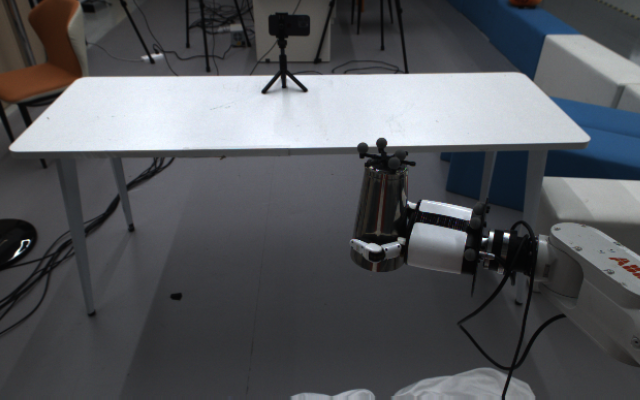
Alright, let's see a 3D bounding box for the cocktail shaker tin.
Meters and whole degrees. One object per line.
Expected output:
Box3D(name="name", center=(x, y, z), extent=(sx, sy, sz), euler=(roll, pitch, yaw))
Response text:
Box3D(name="cocktail shaker tin", center=(0.100, 0.019, 0.780), extent=(0.093, 0.170, 0.093), euler=(1, 28, -1))
